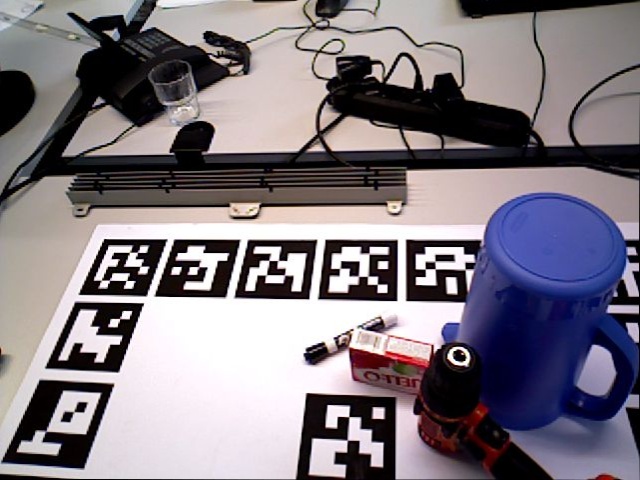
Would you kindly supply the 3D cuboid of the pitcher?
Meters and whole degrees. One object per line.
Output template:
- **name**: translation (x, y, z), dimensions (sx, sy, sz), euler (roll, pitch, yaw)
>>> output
- **pitcher**: translation (0.221, 0.081, 0.494), dimensions (0.189, 0.246, 0.131), euler (25, 61, 33)

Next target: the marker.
- **marker**: translation (0.040, 0.107, 0.637), dimensions (0.120, 0.020, 0.019), euler (-21, 52, -7)

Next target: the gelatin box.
- **gelatin box**: translation (0.086, 0.134, 0.576), dimensions (0.089, 0.074, 0.029), euler (10, 56, 14)

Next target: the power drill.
- **power drill**: translation (0.166, 0.175, 0.458), dimensions (0.187, 0.188, 0.056), euler (34, 64, 23)
